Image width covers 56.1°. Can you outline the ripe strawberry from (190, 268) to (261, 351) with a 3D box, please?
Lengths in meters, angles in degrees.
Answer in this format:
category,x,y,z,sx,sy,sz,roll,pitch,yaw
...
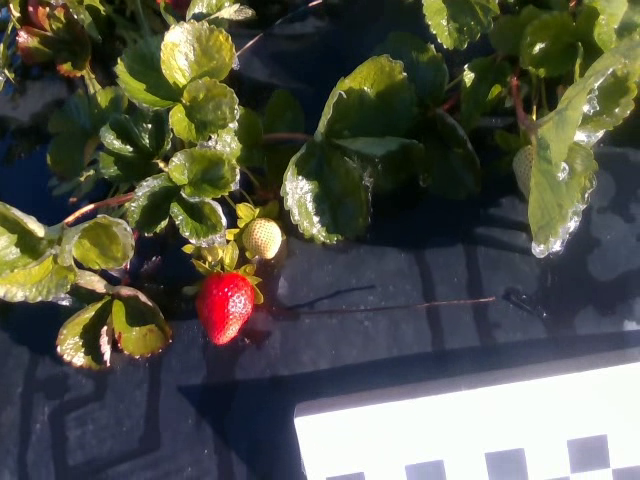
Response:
category,x,y,z,sx,sy,sz,roll,pitch,yaw
ripe strawberry,-0.045,0.038,0.286,0.039,0.040,0.039,-18,38,16
